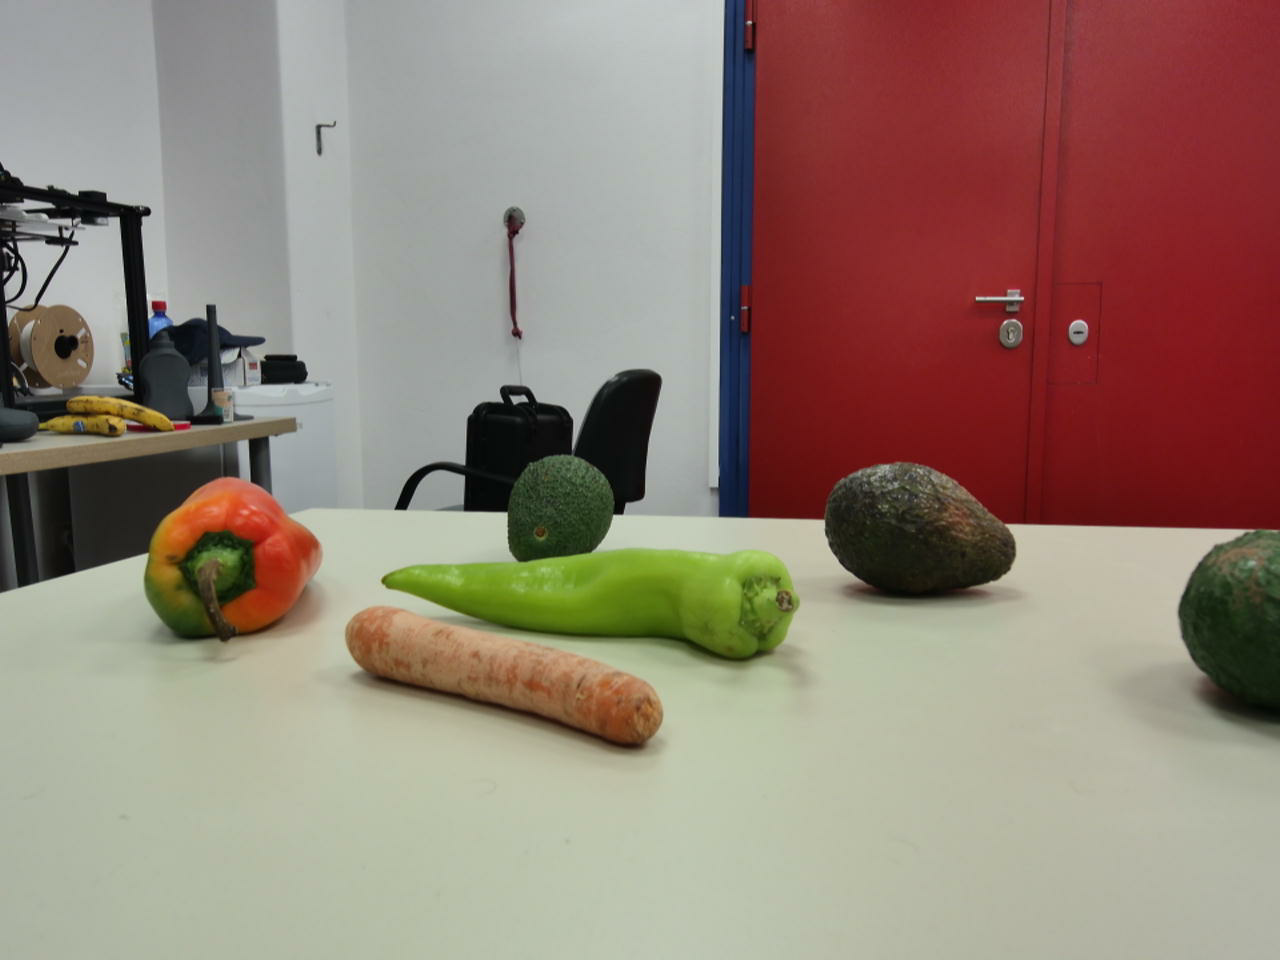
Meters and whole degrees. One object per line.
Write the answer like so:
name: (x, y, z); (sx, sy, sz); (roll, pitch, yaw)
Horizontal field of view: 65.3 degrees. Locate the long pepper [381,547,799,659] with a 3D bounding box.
long pepper: (-0.018, 0.050, 0.451); (0.205, 0.045, 0.065); (2, 4, 28)
